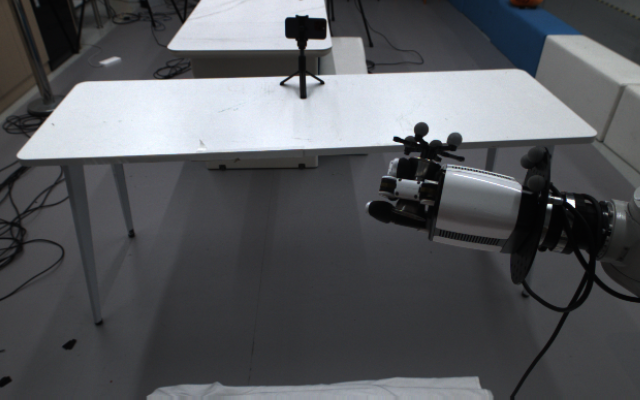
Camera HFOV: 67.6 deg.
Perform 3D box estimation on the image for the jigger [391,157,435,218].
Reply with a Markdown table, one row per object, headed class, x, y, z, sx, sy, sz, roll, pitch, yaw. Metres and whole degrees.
| class | x | y | z | sx | sy | sz | roll | pitch | yaw |
| --- | --- | --- | --- | --- | --- | --- | --- | --- | --- |
| jigger | 0.117 | -0.014 | 0.582 | 0.043 | 0.071 | 0.043 | 19 | -6 | 2 |
